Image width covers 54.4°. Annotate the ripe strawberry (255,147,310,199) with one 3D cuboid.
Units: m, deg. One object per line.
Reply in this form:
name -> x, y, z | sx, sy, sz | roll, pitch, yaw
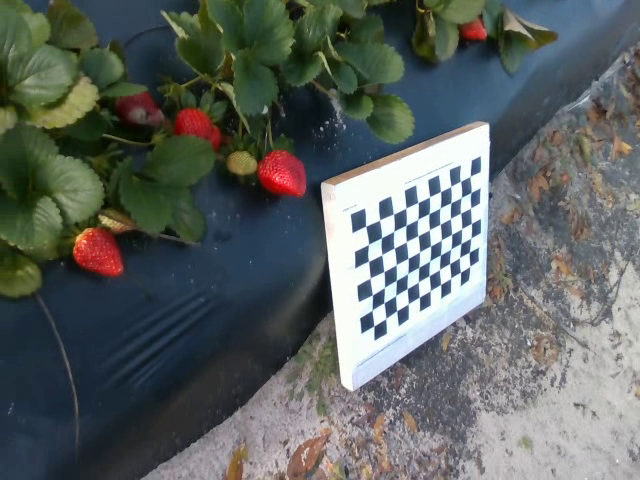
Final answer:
ripe strawberry -> -0.040, -0.046, 0.398 | 0.022, 0.030, 0.025 | 14, -37, 31
